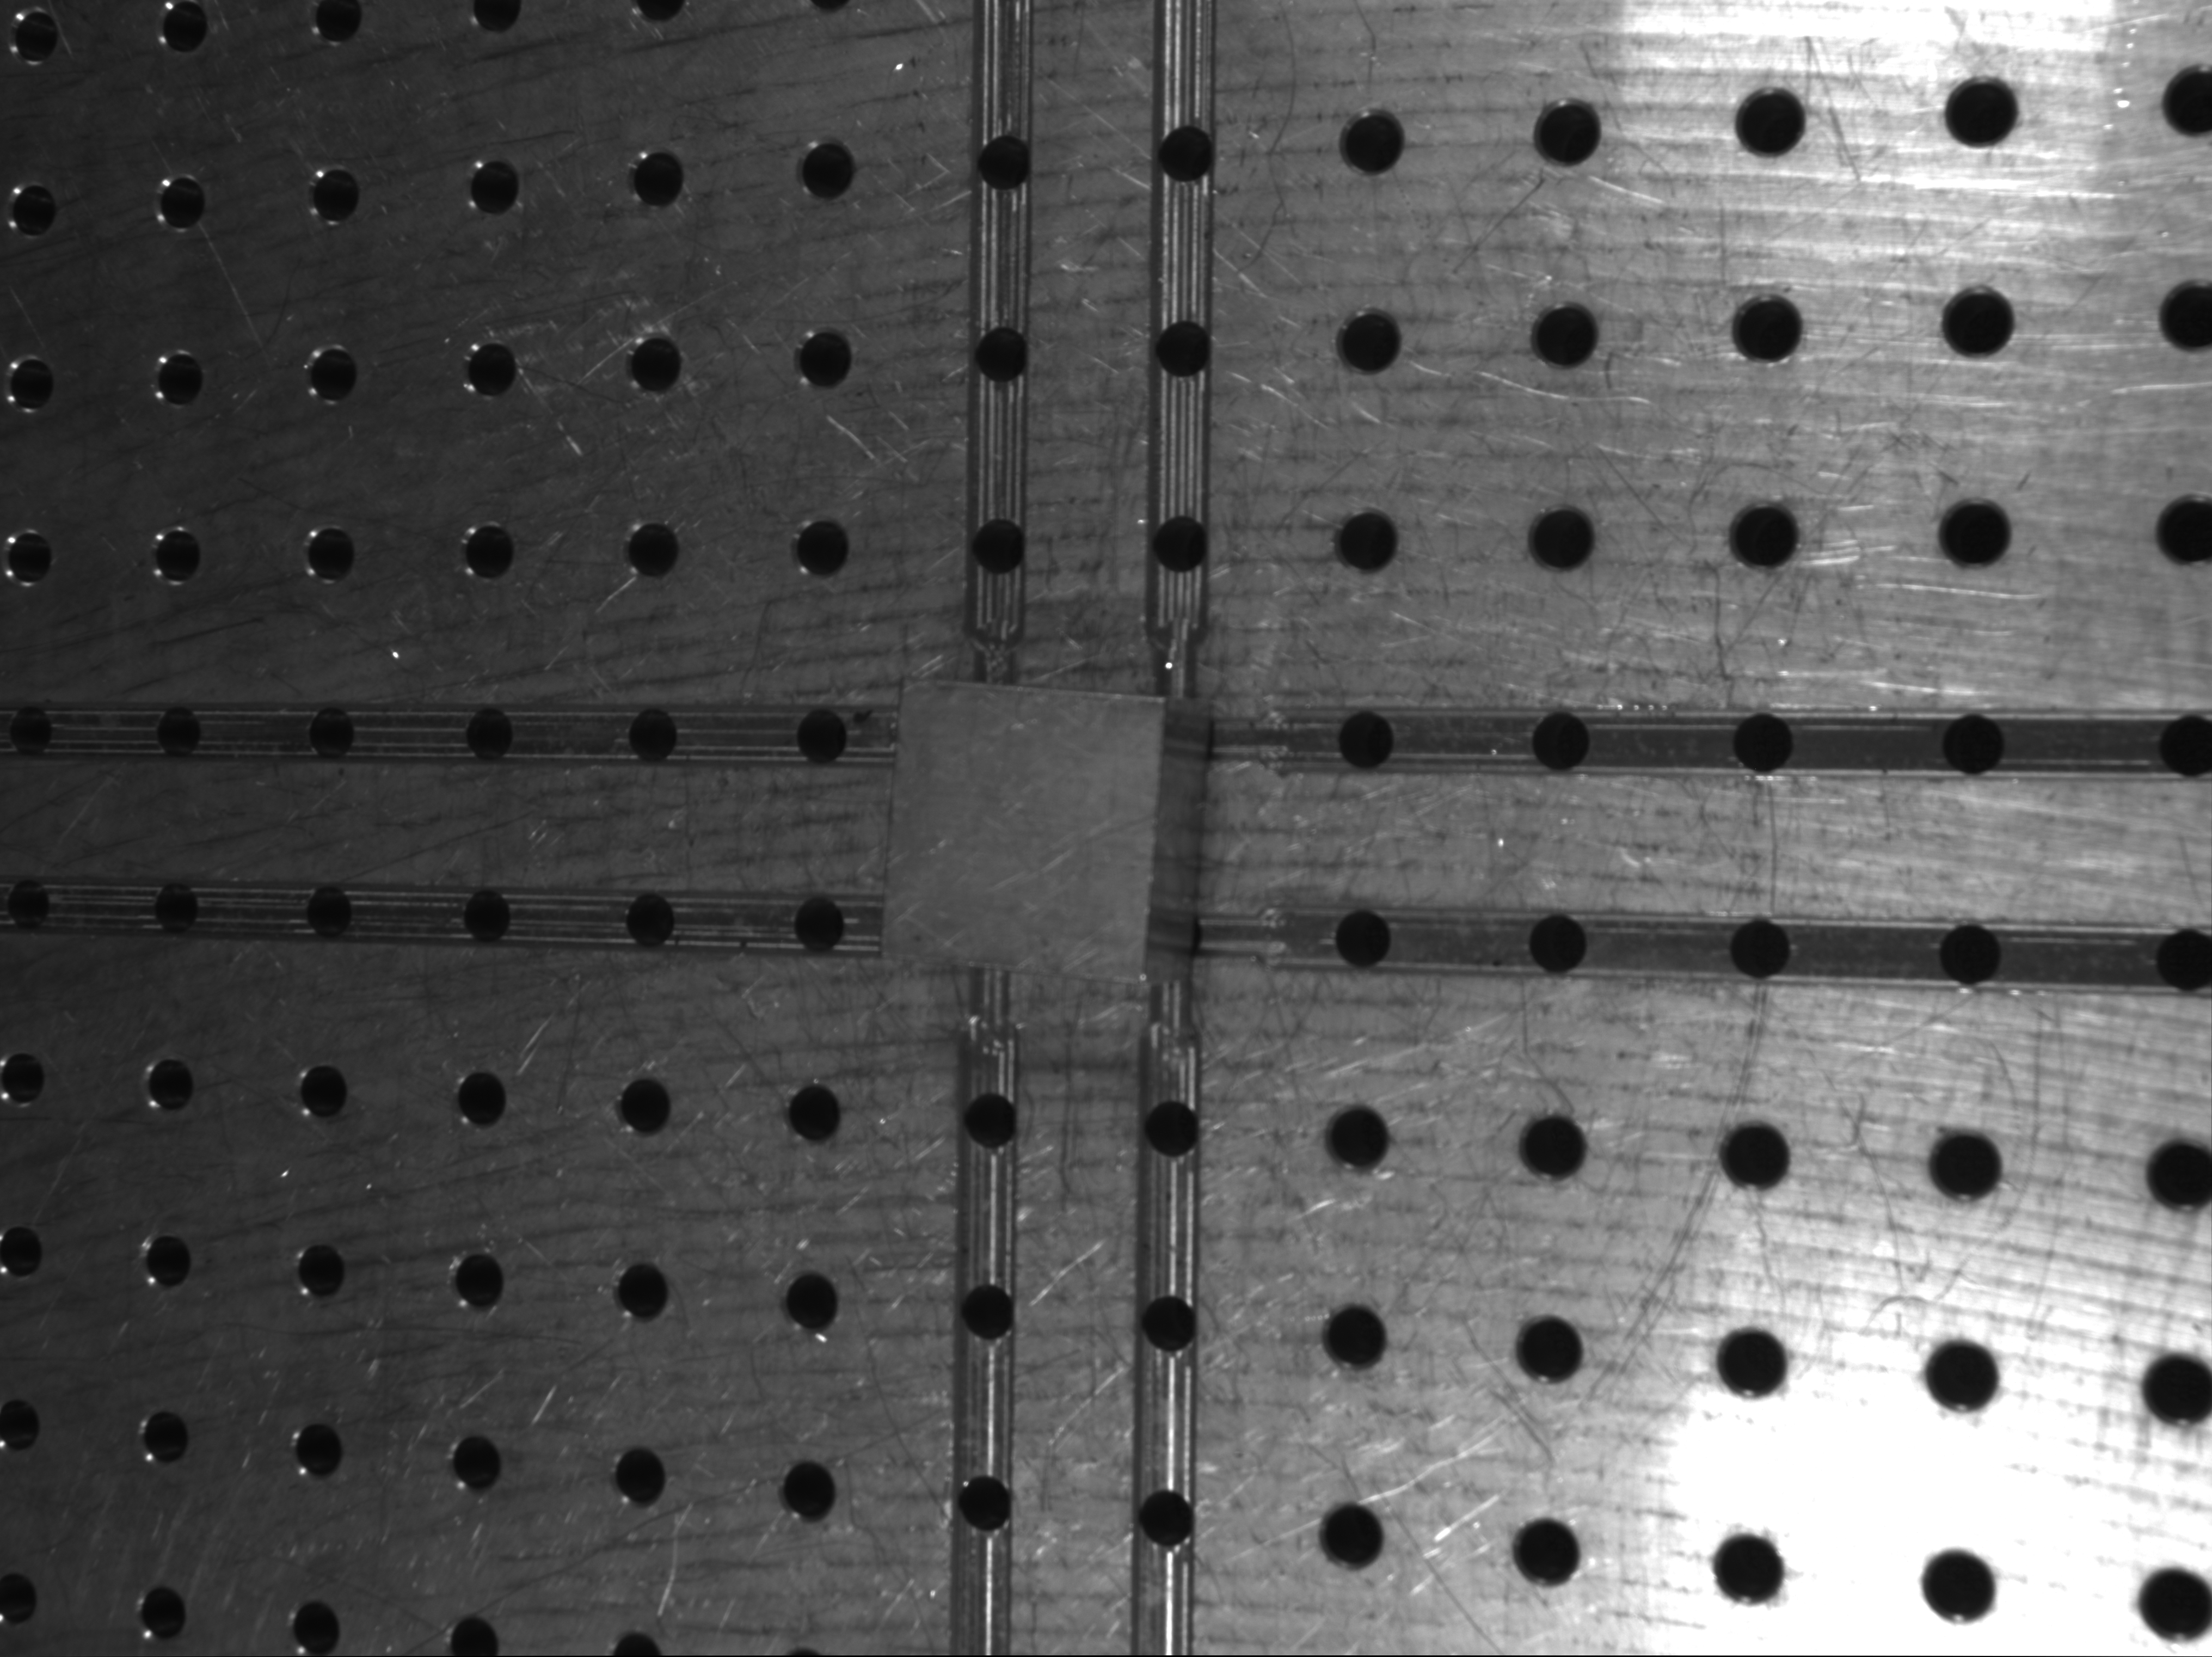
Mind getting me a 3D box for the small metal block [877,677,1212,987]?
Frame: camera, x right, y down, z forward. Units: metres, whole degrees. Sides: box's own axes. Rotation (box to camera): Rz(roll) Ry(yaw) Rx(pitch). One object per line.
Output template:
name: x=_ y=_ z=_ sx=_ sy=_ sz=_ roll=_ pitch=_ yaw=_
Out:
small metal block: x=-0.011 y=0.000 z=0.650 sx=0.050 sy=0.025 sz=0.050 roll=5 pitch=92 yaw=20
